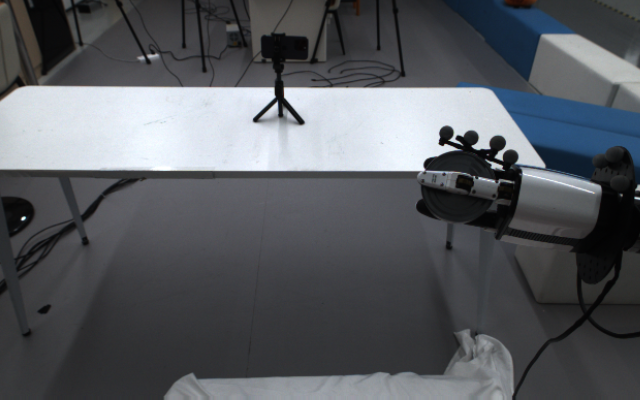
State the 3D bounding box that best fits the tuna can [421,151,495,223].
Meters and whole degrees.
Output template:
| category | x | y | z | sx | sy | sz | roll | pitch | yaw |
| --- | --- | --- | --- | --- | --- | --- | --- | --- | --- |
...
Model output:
| category | x | y | z | sx | sy | sz | roll | pitch | yaw |
| --- | --- | --- | --- | --- | --- | --- | --- | --- | --- |
| tuna can | 0.167 | -0.016 | 0.584 | 0.085 | 0.085 | 0.034 | 14 | -6 | 16 |
